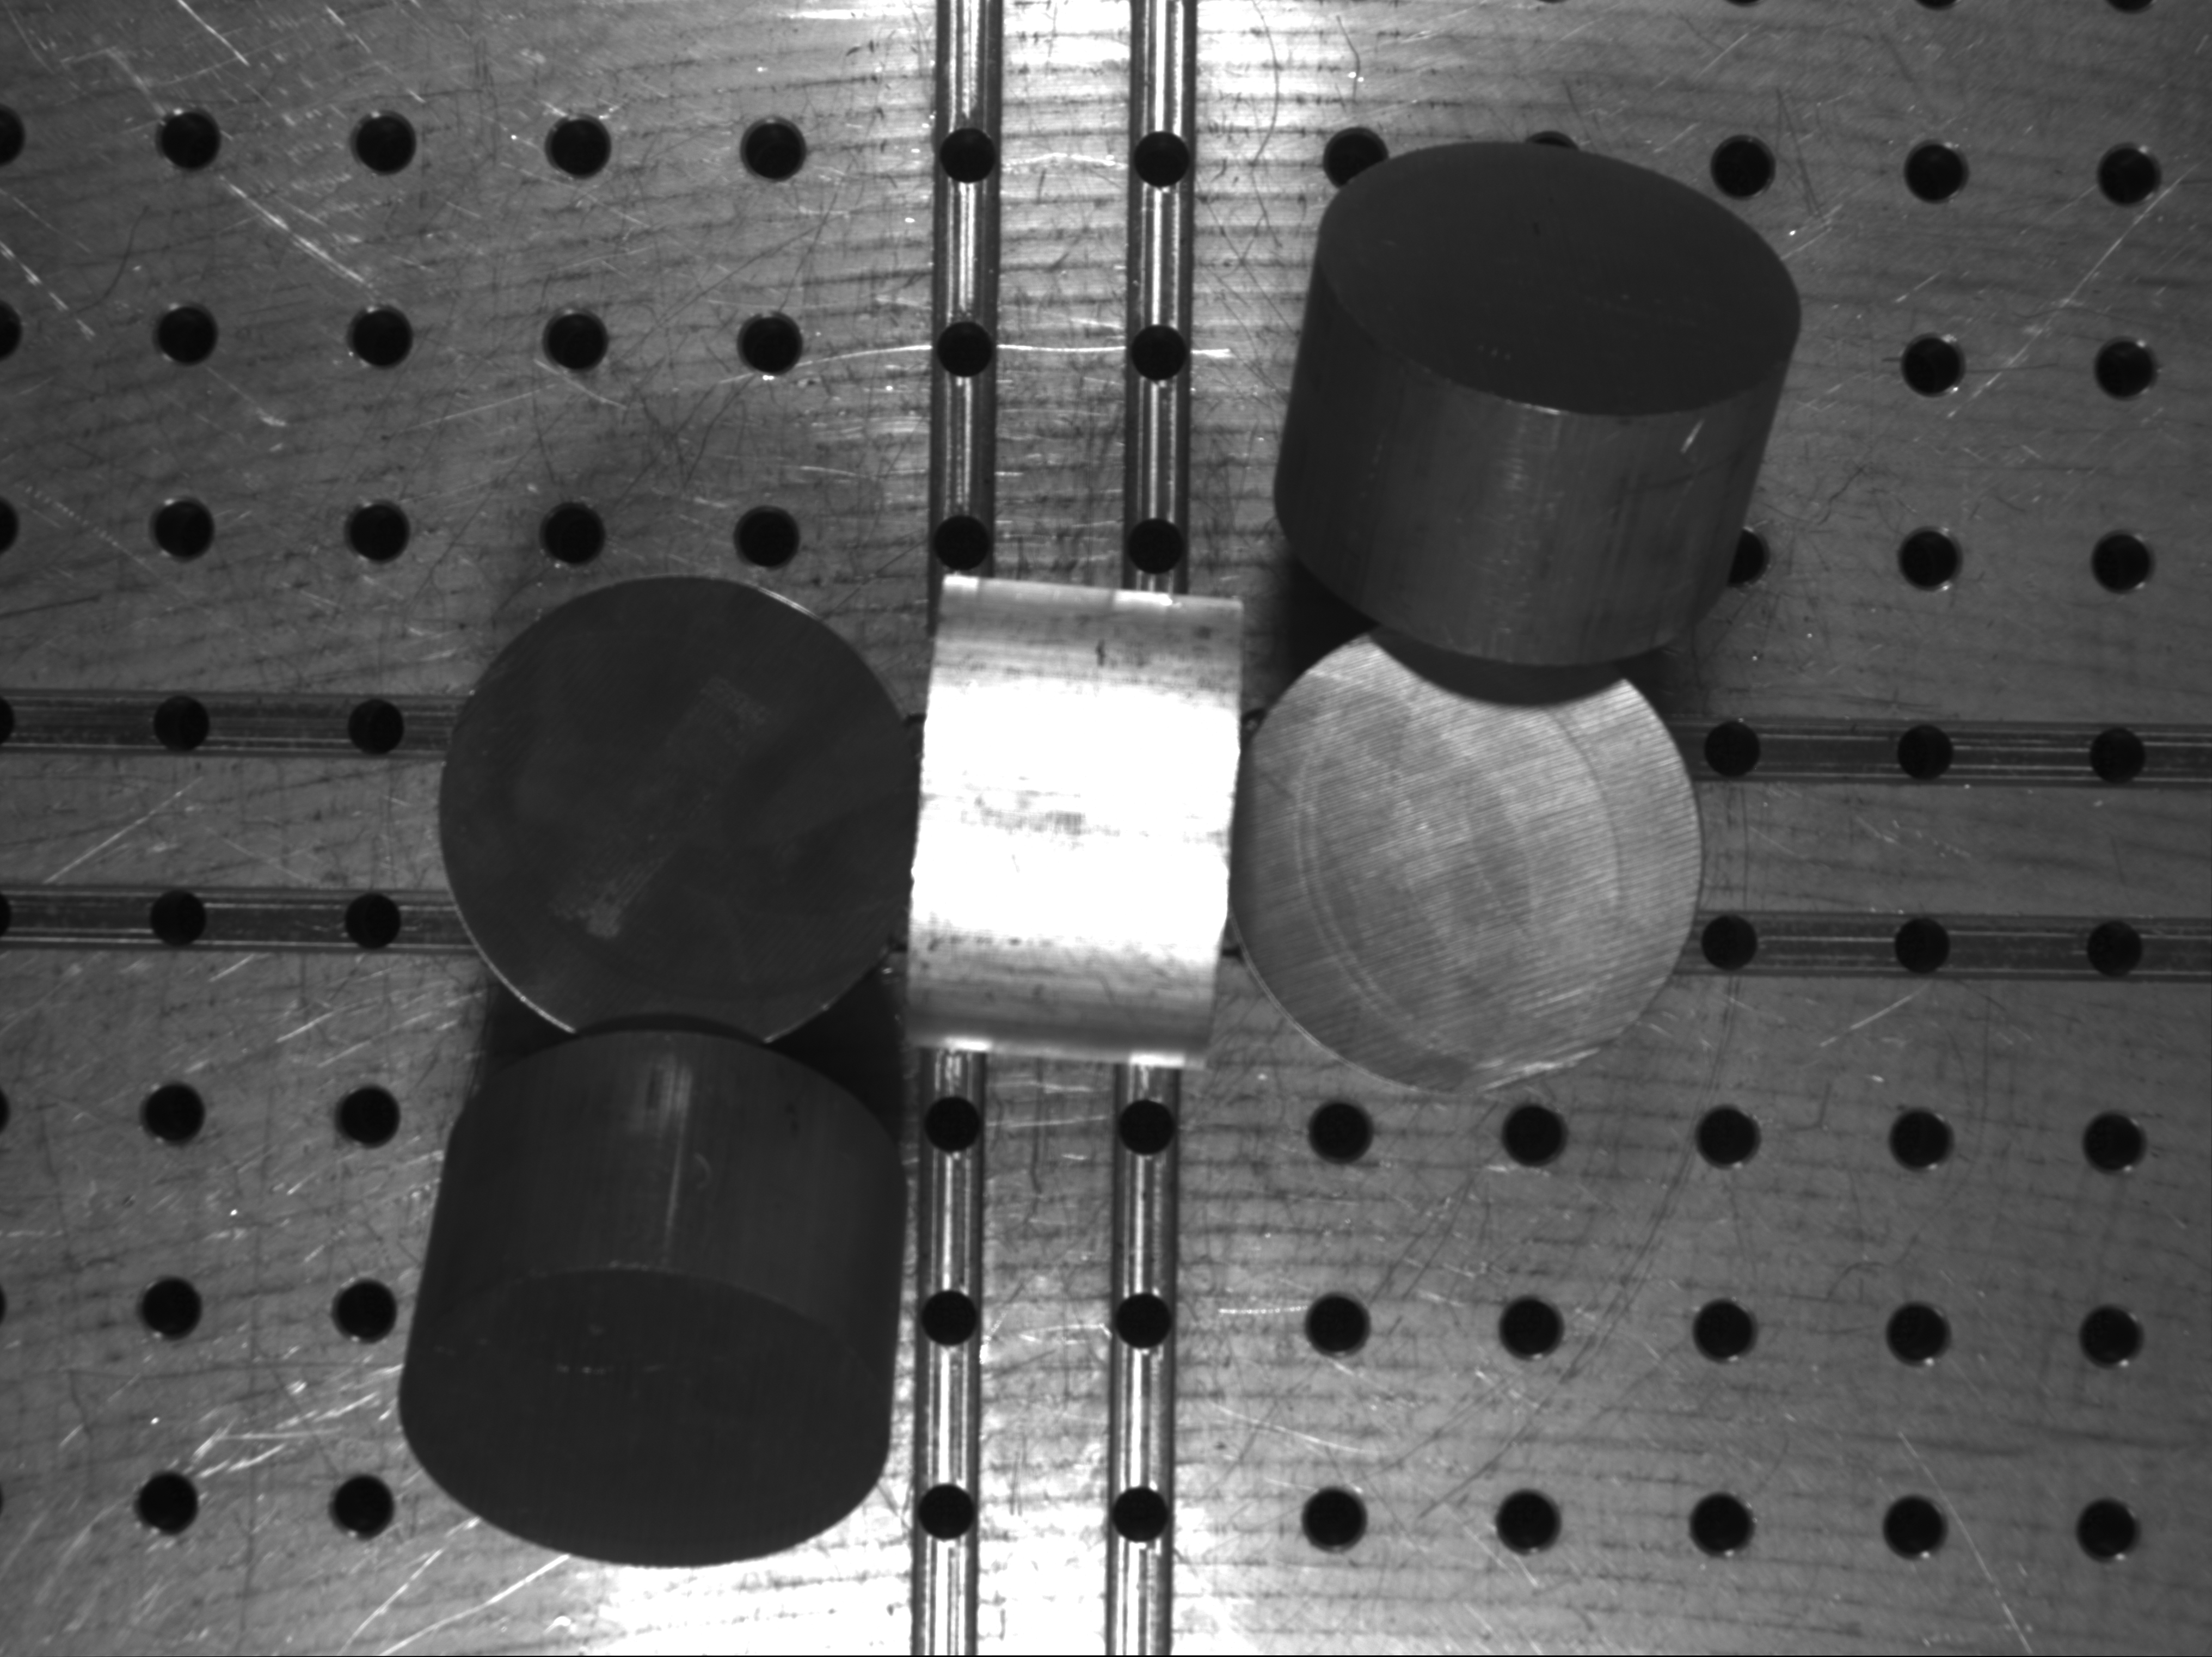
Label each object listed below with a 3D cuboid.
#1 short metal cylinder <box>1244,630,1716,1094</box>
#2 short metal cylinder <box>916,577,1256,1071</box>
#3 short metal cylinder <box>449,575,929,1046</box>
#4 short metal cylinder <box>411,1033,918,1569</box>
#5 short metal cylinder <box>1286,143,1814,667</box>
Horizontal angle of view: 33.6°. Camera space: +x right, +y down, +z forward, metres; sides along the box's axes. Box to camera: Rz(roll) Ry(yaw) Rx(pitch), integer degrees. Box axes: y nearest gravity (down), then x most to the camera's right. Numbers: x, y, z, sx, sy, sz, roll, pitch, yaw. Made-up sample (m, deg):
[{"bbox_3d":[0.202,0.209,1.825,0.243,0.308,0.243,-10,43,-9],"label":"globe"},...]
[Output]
[{"bbox_3d":[0.062,0.004,0.635,0.080,0.050,0.080,0,90,0],"label":"short metal cylinder"},{"bbox_3d":[-0.003,-0.001,0.620,0.050,0.080,0.080,5,90,0],"label":"short metal cylinder"},{"bbox_3d":[-0.069,-0.002,0.634,0.080,0.050,0.080,0,90,0],"label":"short metal cylinder"},{"bbox_3d":[-0.072,0.080,0.614,0.080,0.050,0.080,1,134,1],"label":"short metal cylinder"},{"bbox_3d":[0.073,-0.072,0.614,0.080,0.080,0.050,9,131,0],"label":"short metal cylinder"}]
